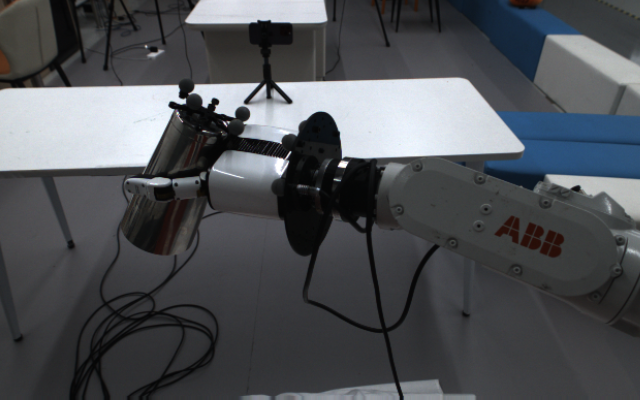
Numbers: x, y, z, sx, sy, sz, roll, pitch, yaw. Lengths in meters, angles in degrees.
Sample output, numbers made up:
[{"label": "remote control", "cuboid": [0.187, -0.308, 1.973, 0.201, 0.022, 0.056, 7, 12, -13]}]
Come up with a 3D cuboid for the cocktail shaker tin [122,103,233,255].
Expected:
[{"label": "cocktail shaker tin", "cuboid": [-0.168, -0.029, 0.585, 0.093, 0.170, 0.093, 25, 29, -15]}]
